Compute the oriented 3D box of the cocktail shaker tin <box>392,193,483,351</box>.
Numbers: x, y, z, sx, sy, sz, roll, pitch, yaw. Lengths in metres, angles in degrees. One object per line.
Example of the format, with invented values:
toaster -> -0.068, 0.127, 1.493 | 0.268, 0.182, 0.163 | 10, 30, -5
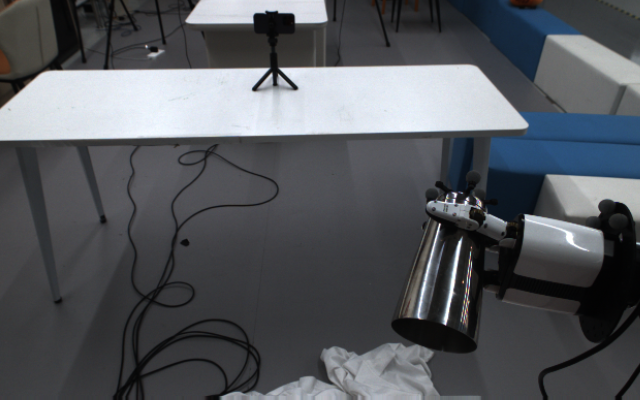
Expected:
cocktail shaker tin -> 0.148, 0.074, 0.562 | 0.093, 0.093, 0.170 | 13, 59, 16
